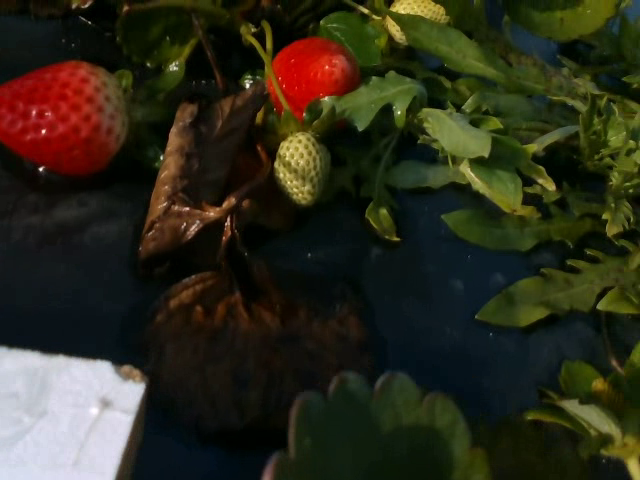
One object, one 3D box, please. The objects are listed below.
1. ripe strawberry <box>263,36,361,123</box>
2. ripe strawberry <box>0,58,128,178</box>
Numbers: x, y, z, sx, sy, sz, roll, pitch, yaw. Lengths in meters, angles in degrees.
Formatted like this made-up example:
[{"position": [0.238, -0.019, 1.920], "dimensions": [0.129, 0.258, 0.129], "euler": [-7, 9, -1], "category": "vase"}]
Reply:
[{"position": [0.002, -0.059, 0.211], "dimensions": [0.039, 0.032, 0.049], "euler": [1, 0, -17], "category": "ripe strawberry"}, {"position": [-0.073, -0.036, 0.165], "dimensions": [0.043, 0.030, 0.035], "euler": [-14, 48, -36], "category": "ripe strawberry"}]
